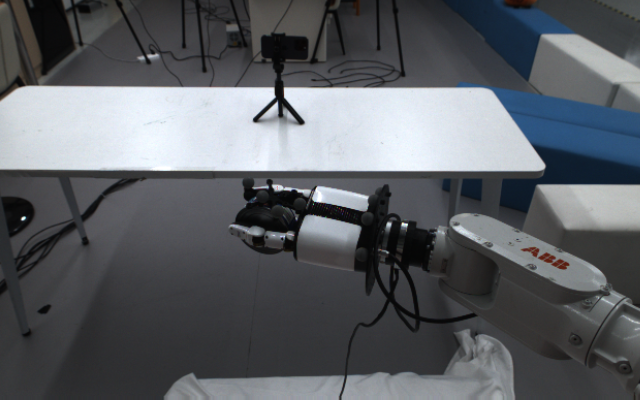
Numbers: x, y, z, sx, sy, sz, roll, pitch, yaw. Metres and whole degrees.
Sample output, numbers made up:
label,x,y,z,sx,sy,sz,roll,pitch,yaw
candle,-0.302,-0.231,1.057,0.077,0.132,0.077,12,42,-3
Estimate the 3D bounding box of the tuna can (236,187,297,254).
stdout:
label,x,y,z,sx,sy,sz,roll,pitch,yaw
tuna can,-0.077,0.036,0.710,0.085,0.085,0.034,12,33,14
